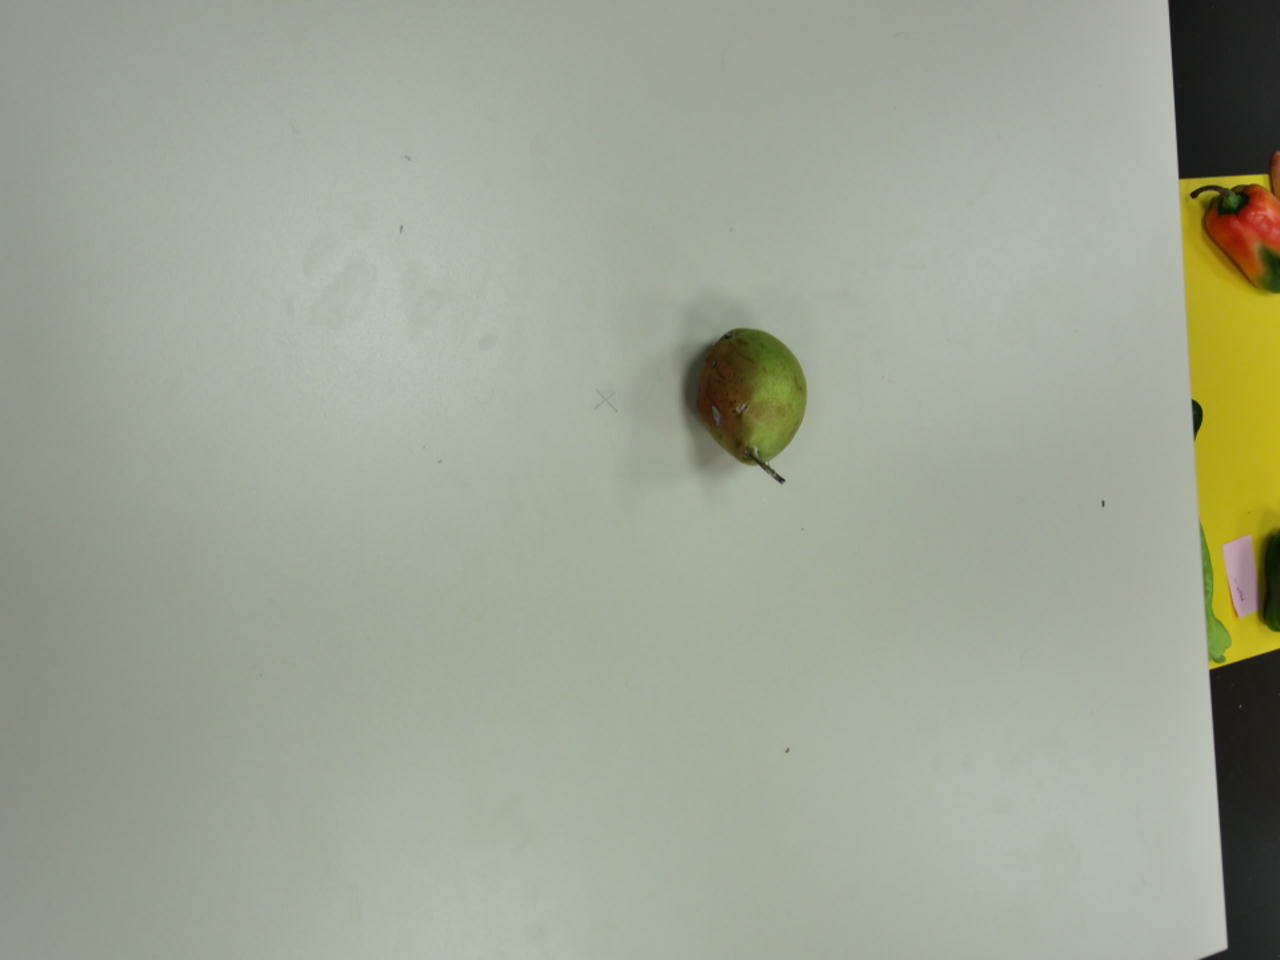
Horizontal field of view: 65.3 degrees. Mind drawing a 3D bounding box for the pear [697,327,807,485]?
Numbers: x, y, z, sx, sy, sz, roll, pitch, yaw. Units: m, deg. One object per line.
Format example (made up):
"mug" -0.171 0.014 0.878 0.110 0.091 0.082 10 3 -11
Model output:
"pear" 0.062 -0.047 0.555 0.070 0.069 0.068 -47 106 -15
